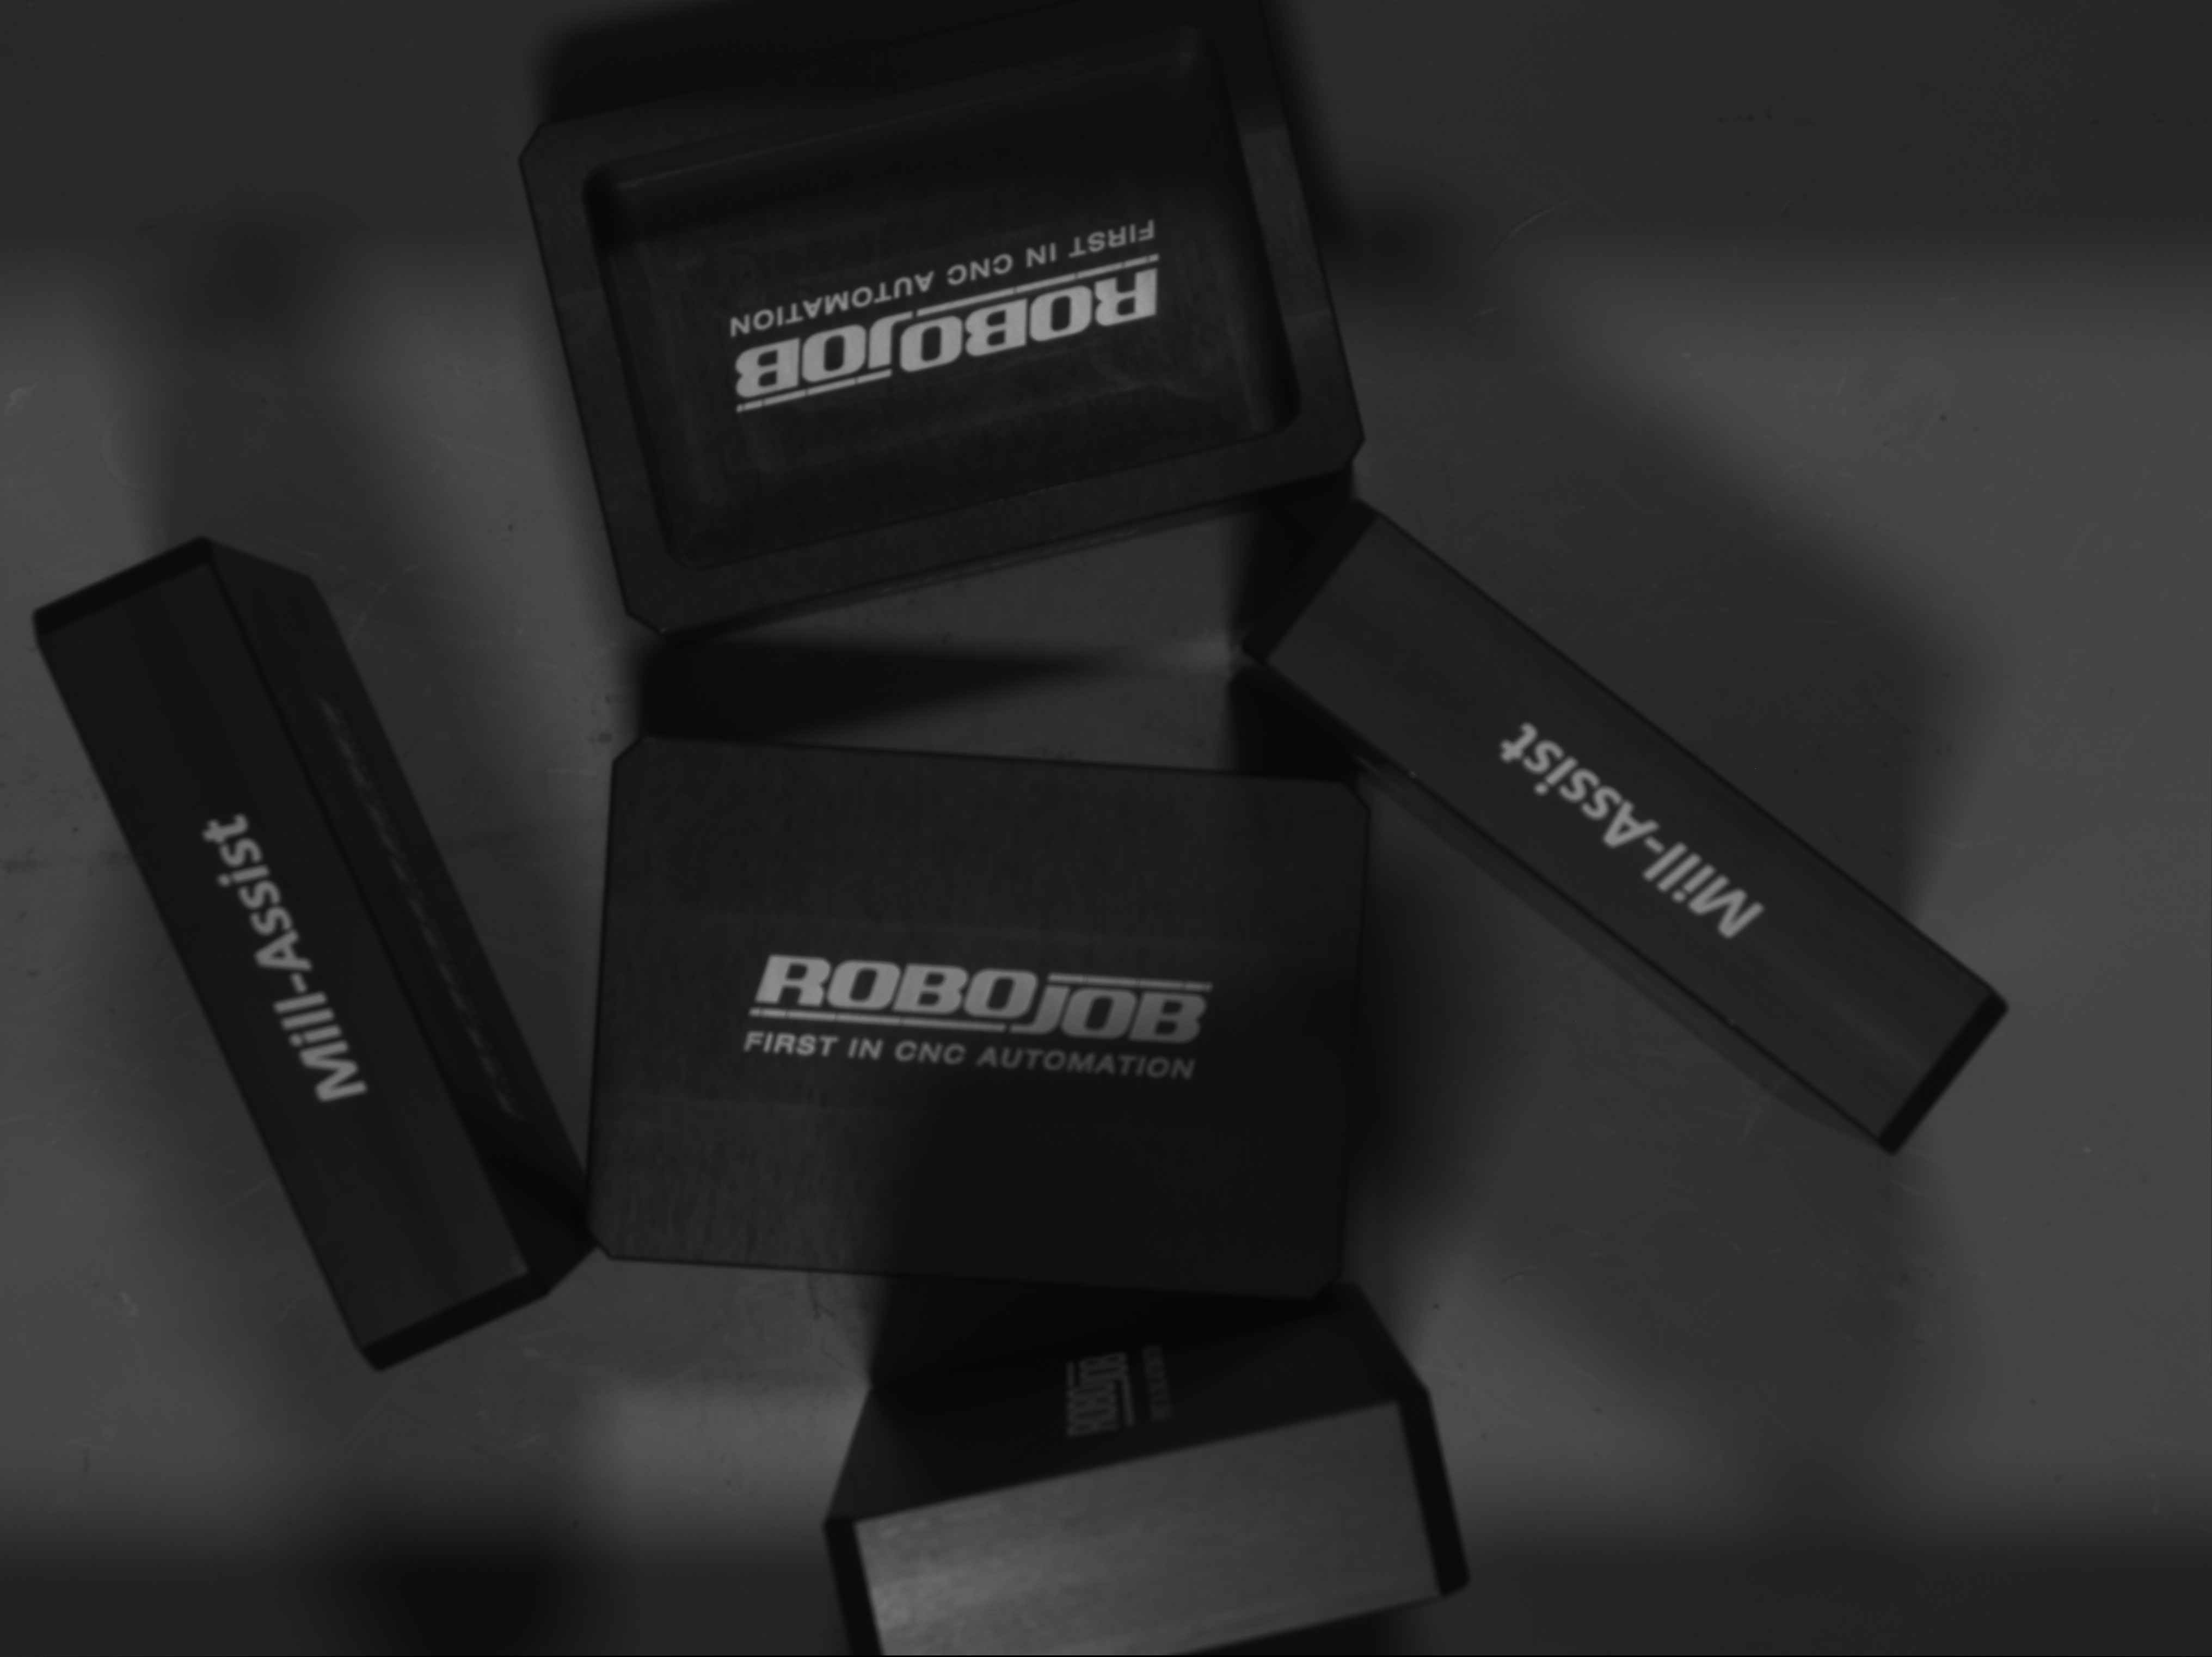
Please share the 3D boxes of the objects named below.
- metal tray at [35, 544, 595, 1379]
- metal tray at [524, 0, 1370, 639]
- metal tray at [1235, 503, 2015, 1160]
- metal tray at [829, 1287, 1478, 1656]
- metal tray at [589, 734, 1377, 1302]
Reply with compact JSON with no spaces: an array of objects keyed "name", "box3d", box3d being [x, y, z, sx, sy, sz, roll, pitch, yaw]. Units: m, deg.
[{"name":"metal tray","box3d":[-0.127,0.021,0.610,0.030,0.090,0.130,-24,90,-1]},{"name":"metal tray","box3d":[-0.027,-0.091,0.641,0.130,0.030,0.090,-13,90,-1]},{"name":"metal tray","box3d":[0.082,0.000,0.611,0.130,0.090,0.030,38,90,0]},{"name":"metal tray","box3d":[0.006,0.106,0.590,0.090,0.130,0.030,-13,90,-1]},{"name":"metal tray","box3d":[-0.021,0.033,0.640,0.130,0.030,0.090,3,90,-1]}]
